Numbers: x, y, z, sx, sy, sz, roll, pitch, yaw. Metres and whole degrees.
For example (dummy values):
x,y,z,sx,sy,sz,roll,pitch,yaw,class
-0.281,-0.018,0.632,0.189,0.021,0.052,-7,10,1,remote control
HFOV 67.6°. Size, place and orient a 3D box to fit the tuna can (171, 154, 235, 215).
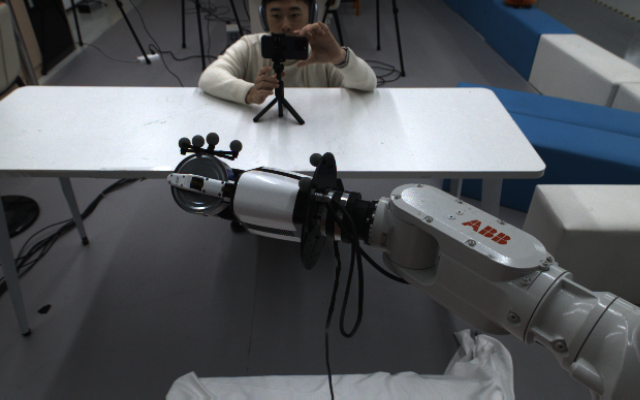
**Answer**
x,y,z,sx,sy,sz,roll,pitch,yaw,class
-0.163,-0.021,0.682,0.085,0.085,0.034,12,-6,14,tuna can
